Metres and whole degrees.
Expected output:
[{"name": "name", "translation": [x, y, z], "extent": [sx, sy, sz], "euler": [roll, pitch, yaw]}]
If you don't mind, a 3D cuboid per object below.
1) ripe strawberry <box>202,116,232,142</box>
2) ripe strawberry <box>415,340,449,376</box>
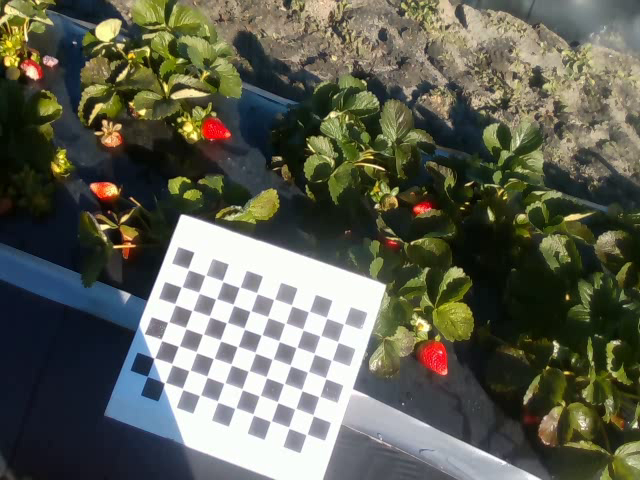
[{"name": "ripe strawberry", "translation": [-0.183, -0.195, 1.072], "extent": [0.064, 0.050, 0.052], "euler": [24, -7, 14]}, {"name": "ripe strawberry", "translation": [0.158, 0.165, 0.837], "extent": [0.048, 0.055, 0.030], "euler": [-26, -9, -3]}]
